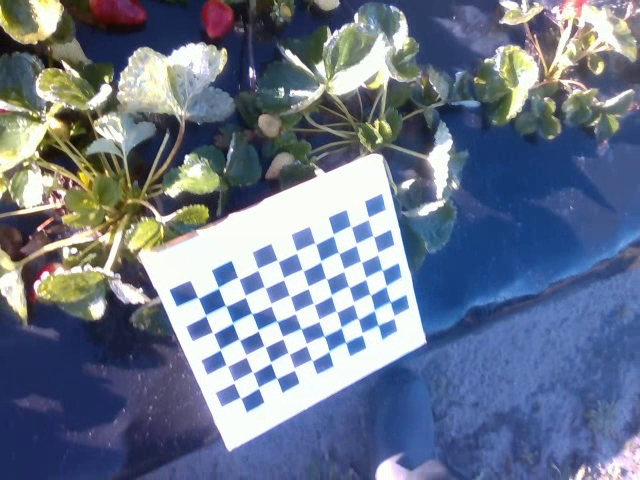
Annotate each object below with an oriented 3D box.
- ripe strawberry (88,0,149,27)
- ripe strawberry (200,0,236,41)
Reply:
[{"bbox_3d":[-0.194,-0.231,0.591,0.056,0.044,0.040,28,-2,-28],"label":"ripe strawberry"},{"bbox_3d":[-0.104,-0.226,0.621,0.039,0.047,0.040,15,-7,-28],"label":"ripe strawberry"}]
